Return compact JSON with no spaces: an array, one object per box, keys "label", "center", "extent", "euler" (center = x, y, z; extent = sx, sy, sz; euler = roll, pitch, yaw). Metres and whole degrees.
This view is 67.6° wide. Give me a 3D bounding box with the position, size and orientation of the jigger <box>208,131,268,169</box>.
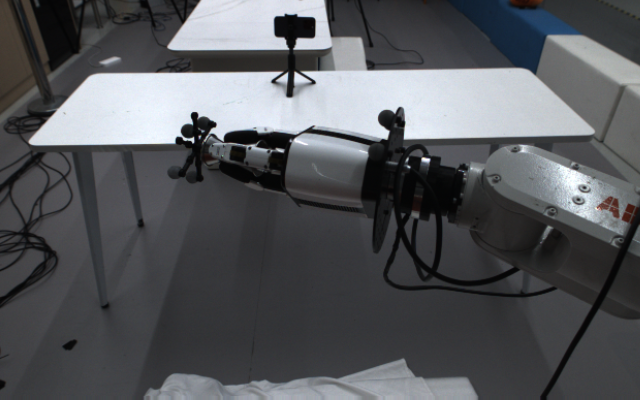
[{"label":"jigger","center":[-0.098,-0.058,0.573],"extent":[0.071,0.043,0.043],"euler":[10,35,16]}]
